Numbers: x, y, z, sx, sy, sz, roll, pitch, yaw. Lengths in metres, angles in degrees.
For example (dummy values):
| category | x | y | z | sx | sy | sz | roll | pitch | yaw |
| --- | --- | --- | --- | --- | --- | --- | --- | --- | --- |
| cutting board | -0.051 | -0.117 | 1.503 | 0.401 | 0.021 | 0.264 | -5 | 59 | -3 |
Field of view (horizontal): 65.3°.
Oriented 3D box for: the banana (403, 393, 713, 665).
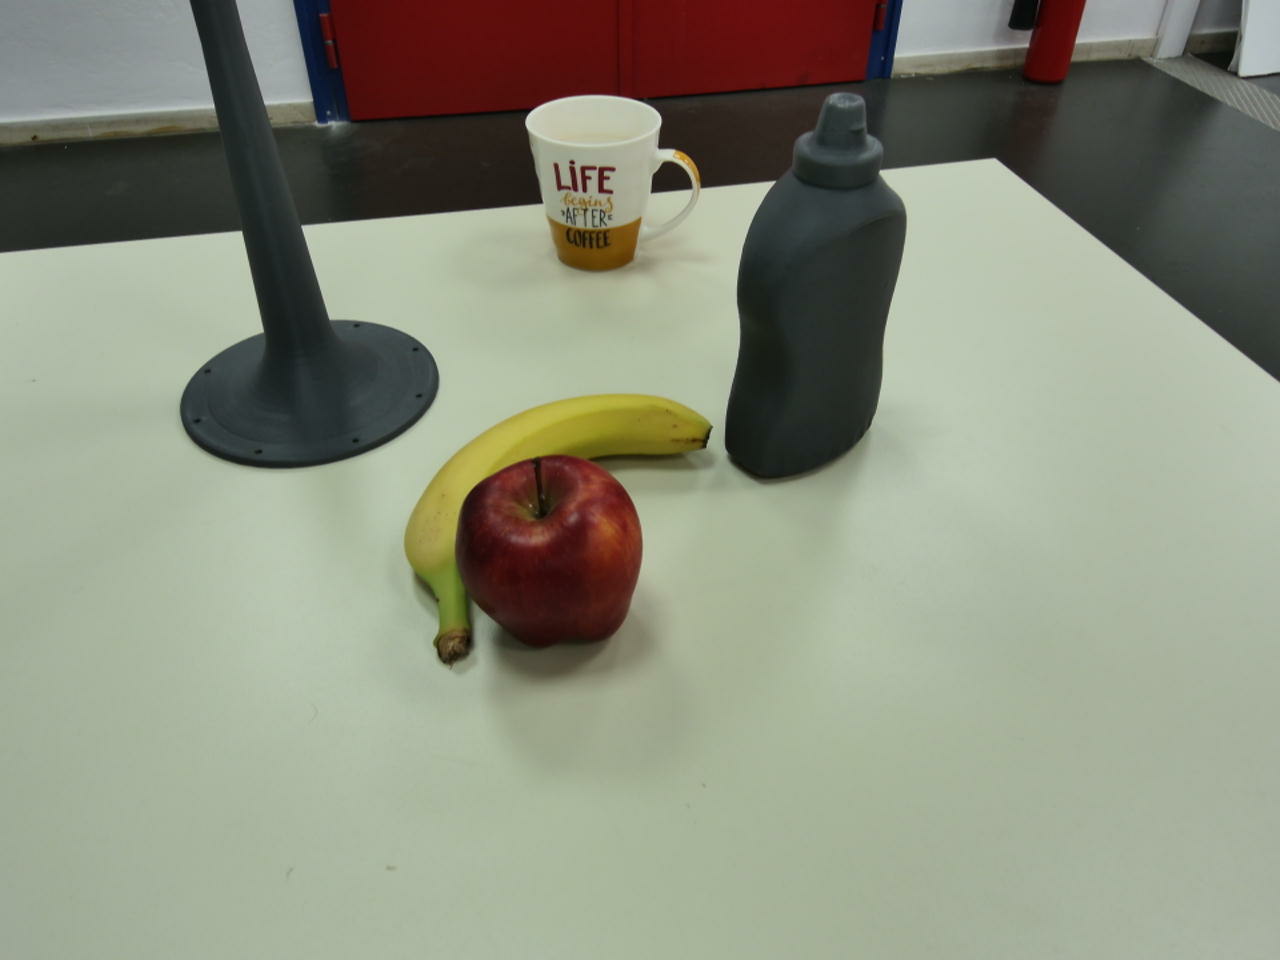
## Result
| category | x | y | z | sx | sy | sz | roll | pitch | yaw |
| --- | --- | --- | --- | --- | --- | --- | --- | --- | --- |
| banana | -0.055 | 0.003 | 0.513 | 0.094 | 0.041 | 0.196 | 29 | 47 | 31 |
